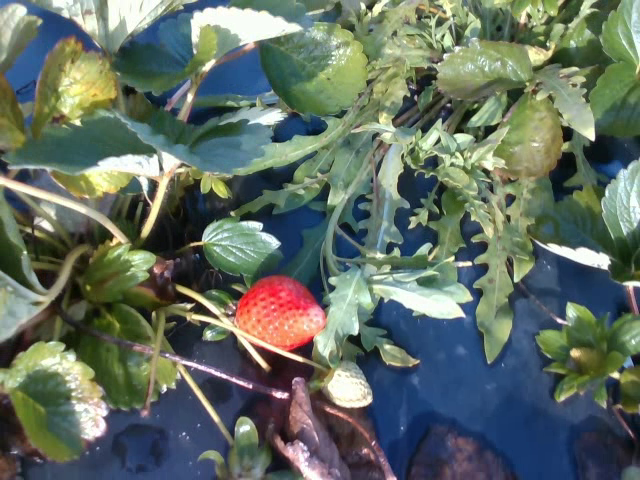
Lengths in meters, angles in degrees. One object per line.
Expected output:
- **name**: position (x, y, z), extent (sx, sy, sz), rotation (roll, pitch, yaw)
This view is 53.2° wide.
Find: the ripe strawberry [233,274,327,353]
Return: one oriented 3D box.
- **ripe strawberry**: position (-0.014, 0.028, 0.268), extent (0.048, 0.032, 0.040), rotation (-9, 37, 51)
